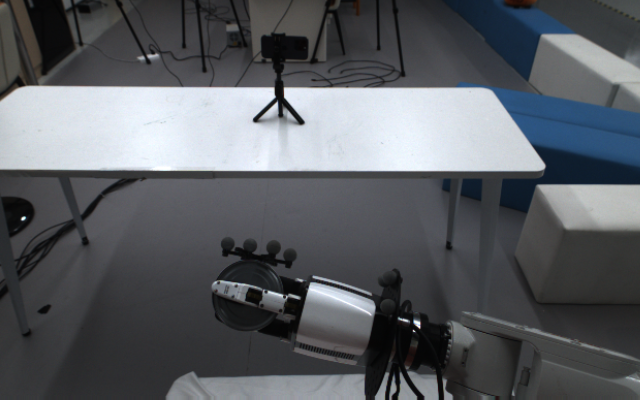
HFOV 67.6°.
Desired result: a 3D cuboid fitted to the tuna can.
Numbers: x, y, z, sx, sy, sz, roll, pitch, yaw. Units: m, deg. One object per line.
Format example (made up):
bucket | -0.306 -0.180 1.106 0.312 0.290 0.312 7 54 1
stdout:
tuna can | -0.086 0.116 0.591 0.085 0.034 0.085 1 71 -3
